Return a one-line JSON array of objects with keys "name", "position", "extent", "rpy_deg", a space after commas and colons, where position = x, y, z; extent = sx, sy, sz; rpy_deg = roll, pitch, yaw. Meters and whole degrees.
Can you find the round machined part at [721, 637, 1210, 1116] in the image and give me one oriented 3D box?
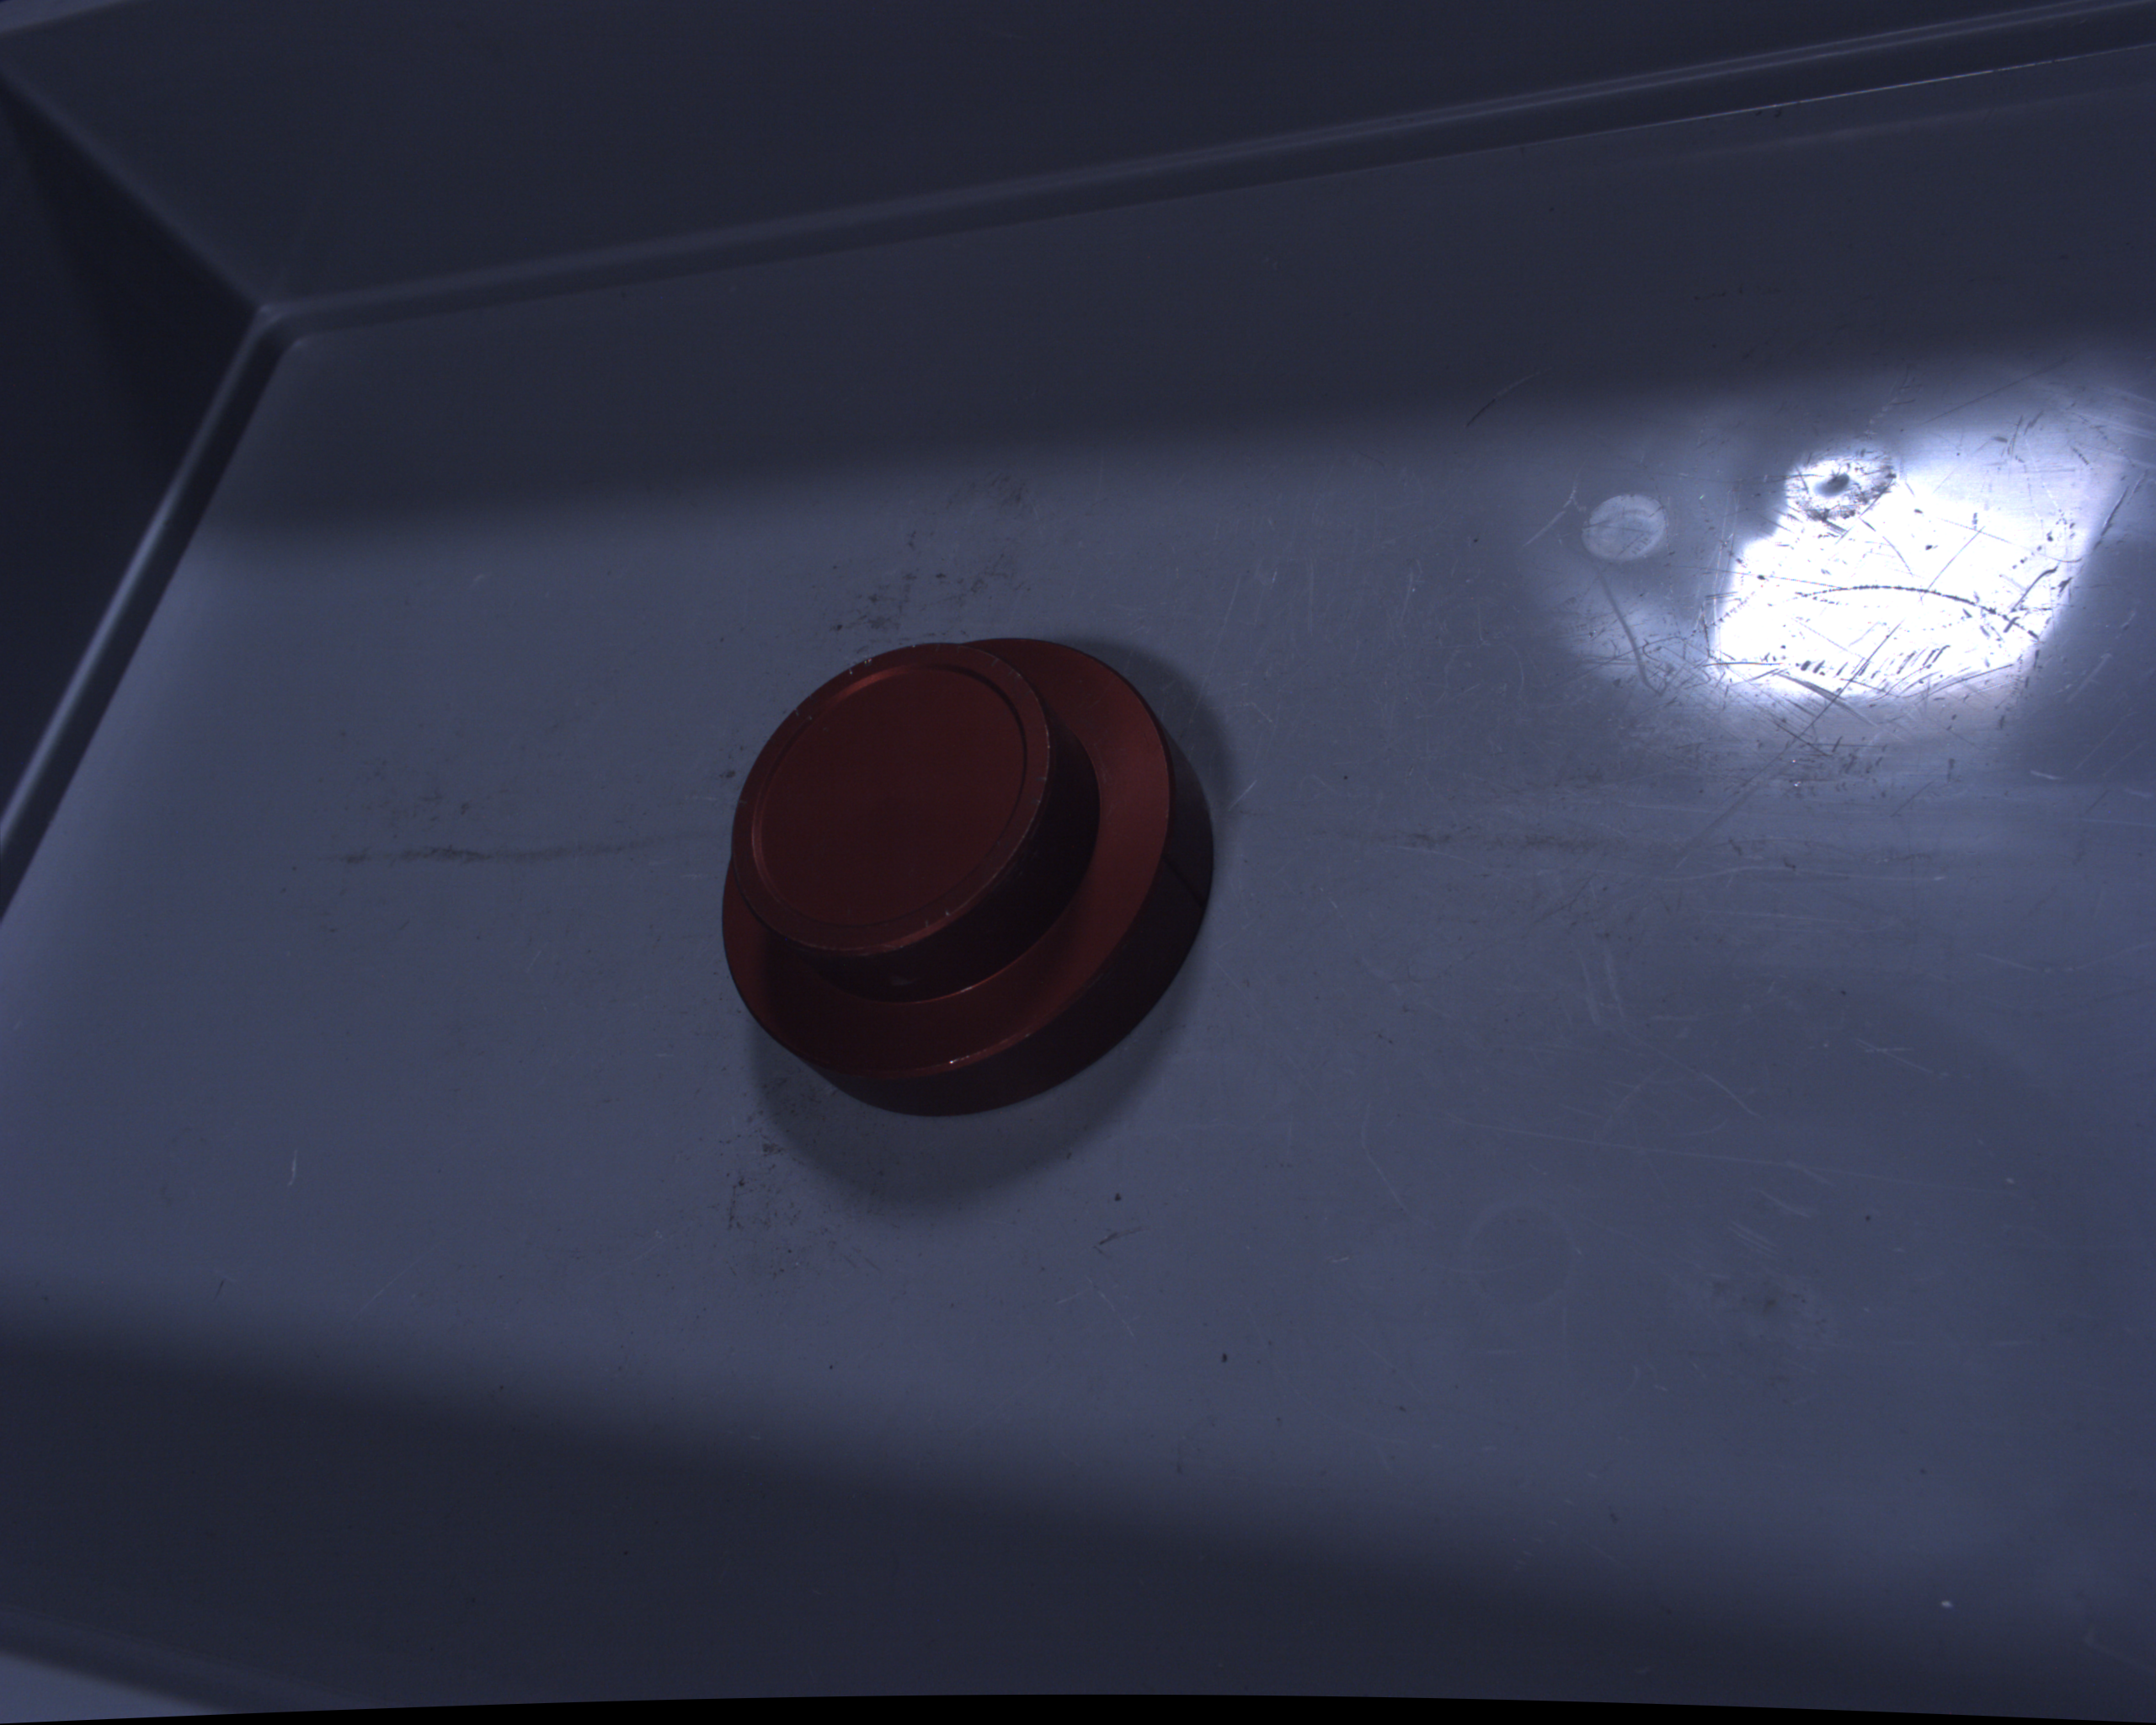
[{"name": "round machined part", "position": [-0.028, -0.004, 0.406], "extent": [0.098, 0.042, 0.098], "rpy_deg": [-13, 56, 20]}]
